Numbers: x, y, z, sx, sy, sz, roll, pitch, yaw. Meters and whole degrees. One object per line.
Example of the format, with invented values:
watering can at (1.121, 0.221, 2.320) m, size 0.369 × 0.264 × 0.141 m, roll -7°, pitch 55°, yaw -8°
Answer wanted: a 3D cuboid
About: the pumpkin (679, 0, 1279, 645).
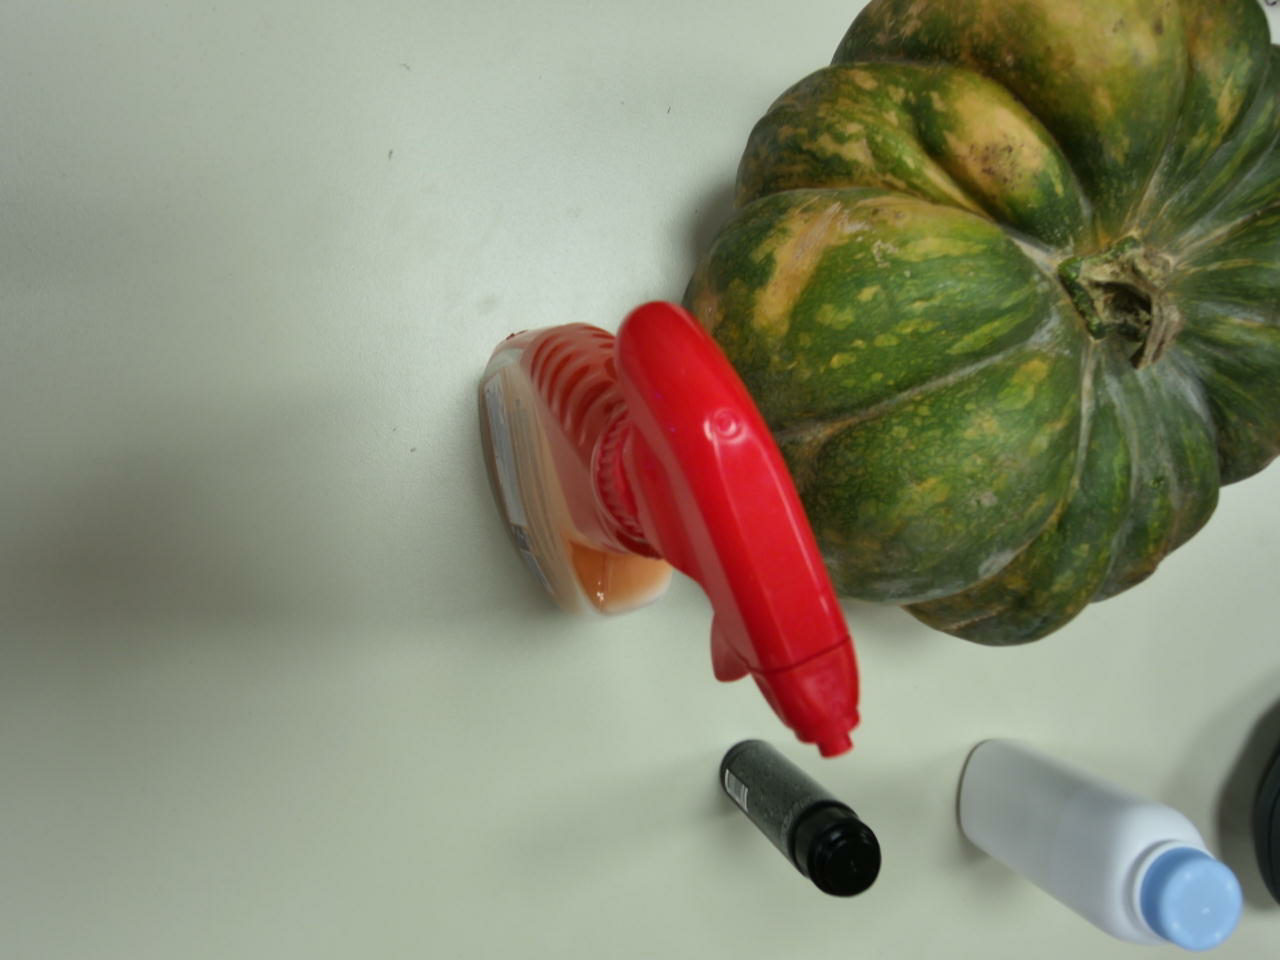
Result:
pumpkin at (0.145, -0.066, 0.378) m, size 0.237 × 0.173 × 0.270 m, roll 38°, pitch 84°, yaw -10°
